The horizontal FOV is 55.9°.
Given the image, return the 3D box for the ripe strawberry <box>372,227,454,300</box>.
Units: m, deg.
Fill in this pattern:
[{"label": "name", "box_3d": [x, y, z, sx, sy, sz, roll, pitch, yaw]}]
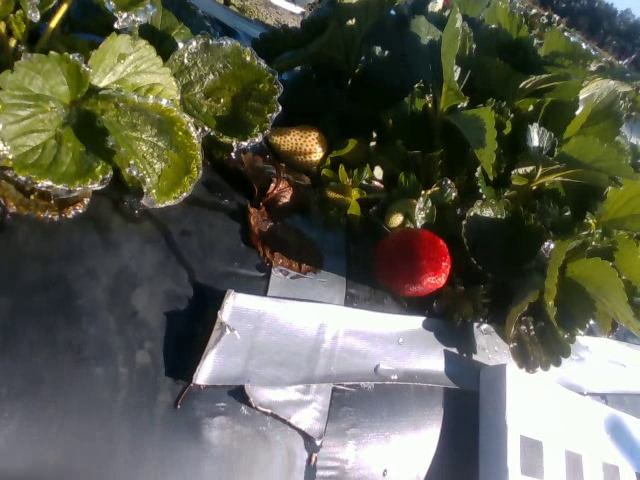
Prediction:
[{"label": "ripe strawberry", "box_3d": [0.065, 0.022, 0.375, 0.058, 0.061, 0.065, -34, 13, 4]}]
